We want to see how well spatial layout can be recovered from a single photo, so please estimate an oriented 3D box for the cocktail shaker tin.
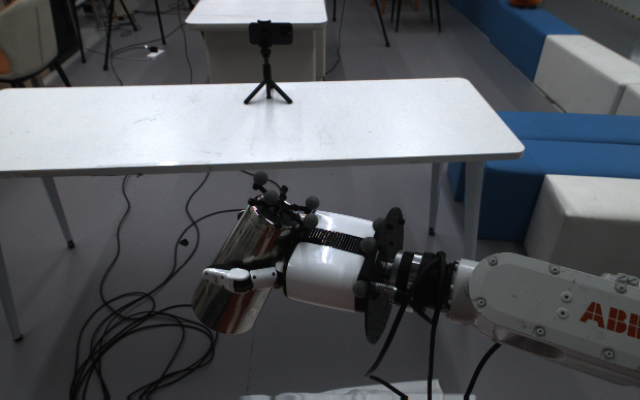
[{"bbox_3d":[-0.087,0.074,0.611,0.093,0.170,0.093,25,29,-15],"label":"cocktail shaker tin"}]
